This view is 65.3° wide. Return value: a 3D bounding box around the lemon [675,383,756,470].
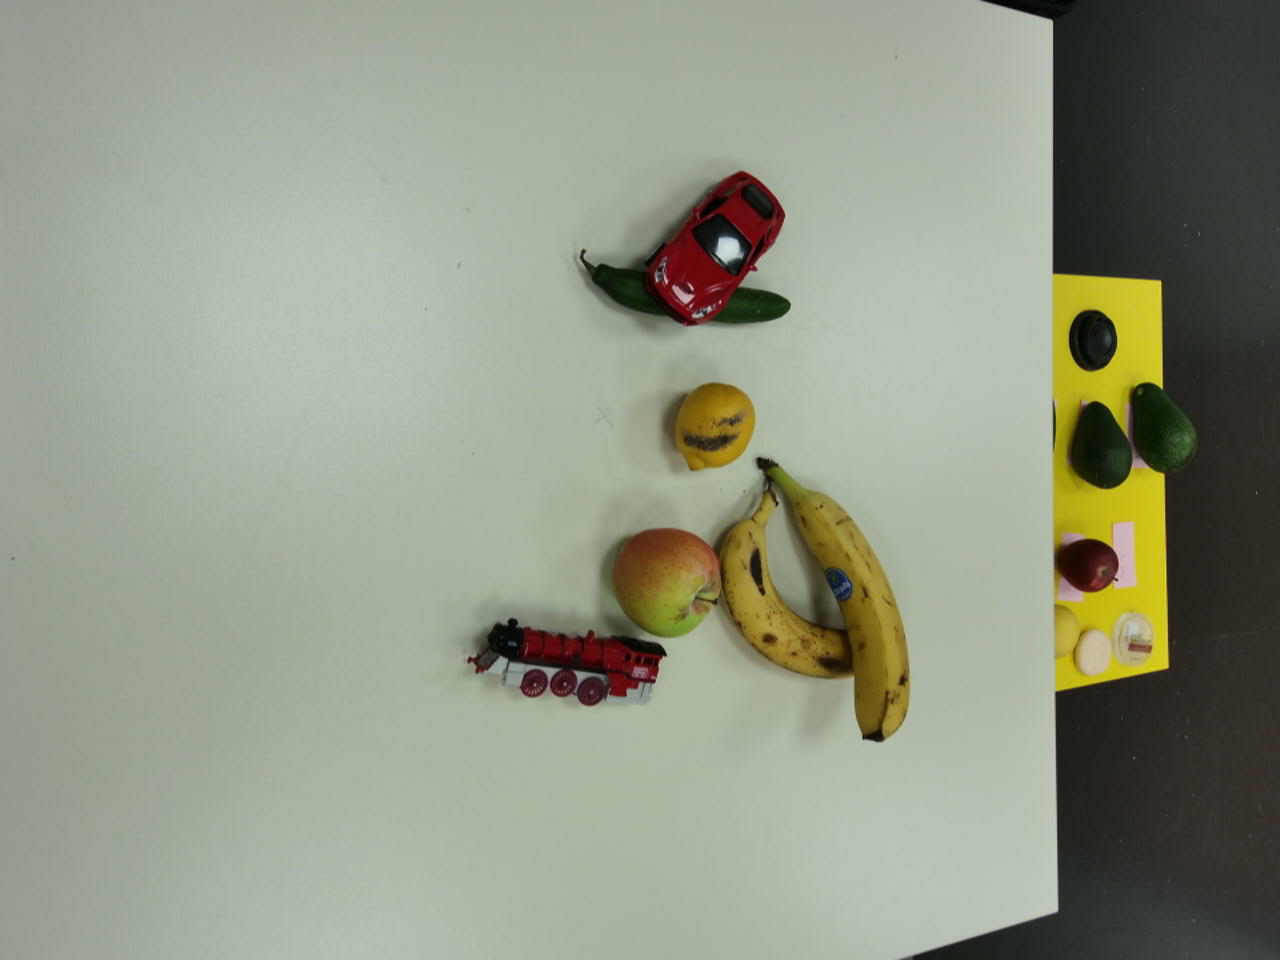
[{"bbox_3d":[0.054,-0.040,0.719,0.058,0.056,0.061,-10,95,-28],"label":"lemon"}]
